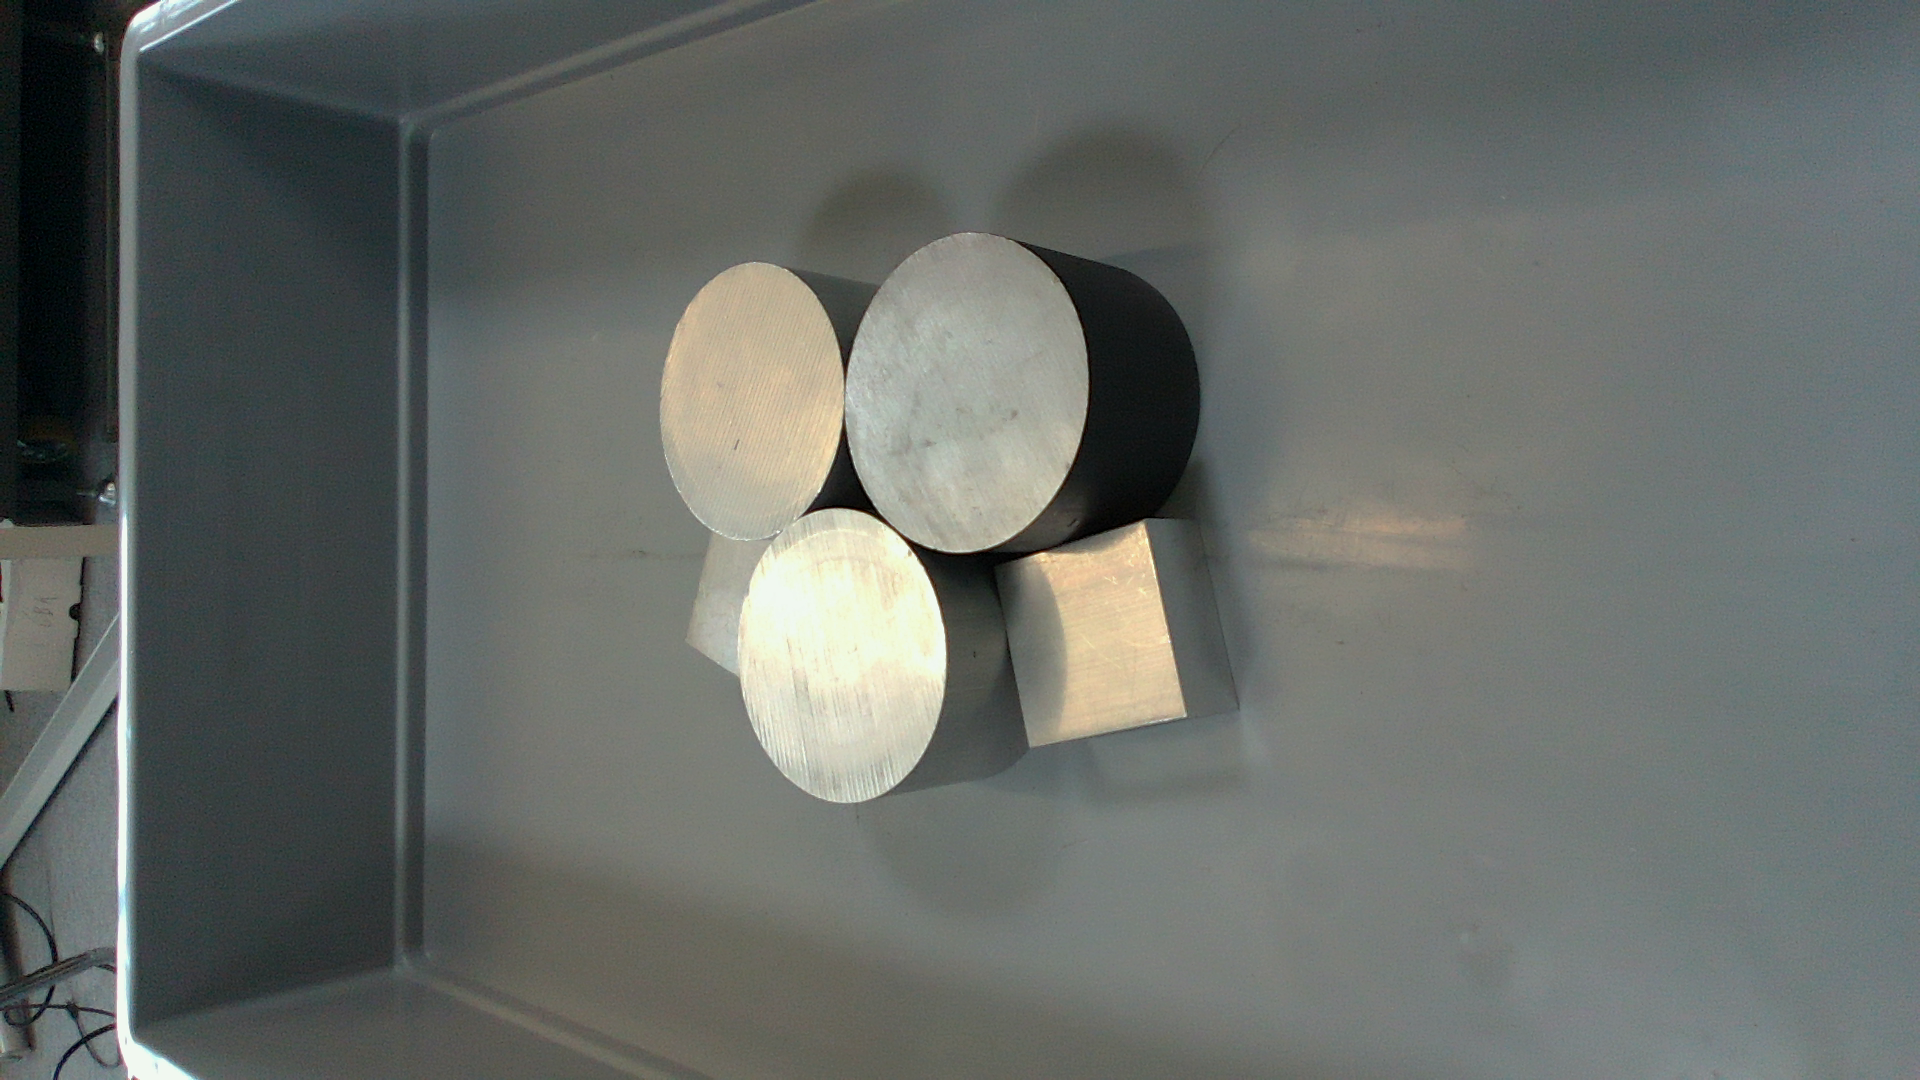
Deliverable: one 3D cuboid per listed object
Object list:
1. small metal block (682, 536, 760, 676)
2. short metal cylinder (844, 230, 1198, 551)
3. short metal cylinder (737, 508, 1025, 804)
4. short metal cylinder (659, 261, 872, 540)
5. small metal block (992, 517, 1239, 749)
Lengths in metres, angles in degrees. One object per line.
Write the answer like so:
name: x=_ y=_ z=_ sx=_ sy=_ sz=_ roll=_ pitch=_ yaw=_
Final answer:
small metal block: x=-0.059 y=0.019 z=0.443 sx=0.050 sy=0.025 sz=0.050 roll=26 pitch=107 yaw=37
short metal cylinder: x=0.015 y=-0.037 z=0.364 sx=0.080 sy=0.050 sz=0.080 roll=0 pitch=90 yaw=40
short metal cylinder: x=-0.018 y=0.031 z=0.392 sx=0.080 sy=0.050 sz=0.080 roll=0 pitch=90 yaw=40
short metal cylinder: x=-0.046 y=-0.040 z=0.415 sx=0.080 sy=0.050 sz=0.080 roll=0 pitch=90 yaw=40
small metal block: x=0.040 y=0.025 z=0.360 sx=0.050 sy=0.025 sz=0.050 roll=-18 pitch=78 yaw=39
